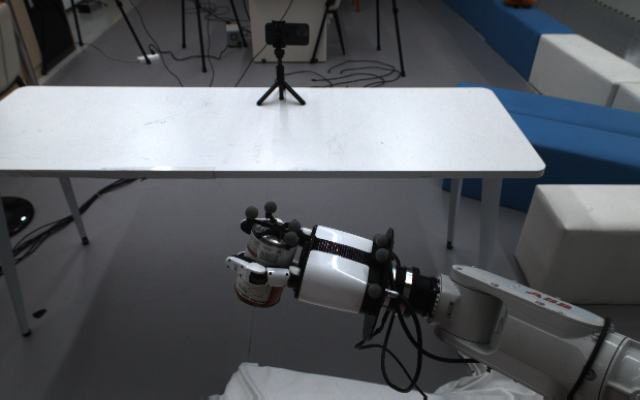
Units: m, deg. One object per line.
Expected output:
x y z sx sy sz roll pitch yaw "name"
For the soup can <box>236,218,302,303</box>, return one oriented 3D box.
-0.072 0.089 0.666 0.067 0.101 0.067 17 21 -7 "soup can"
